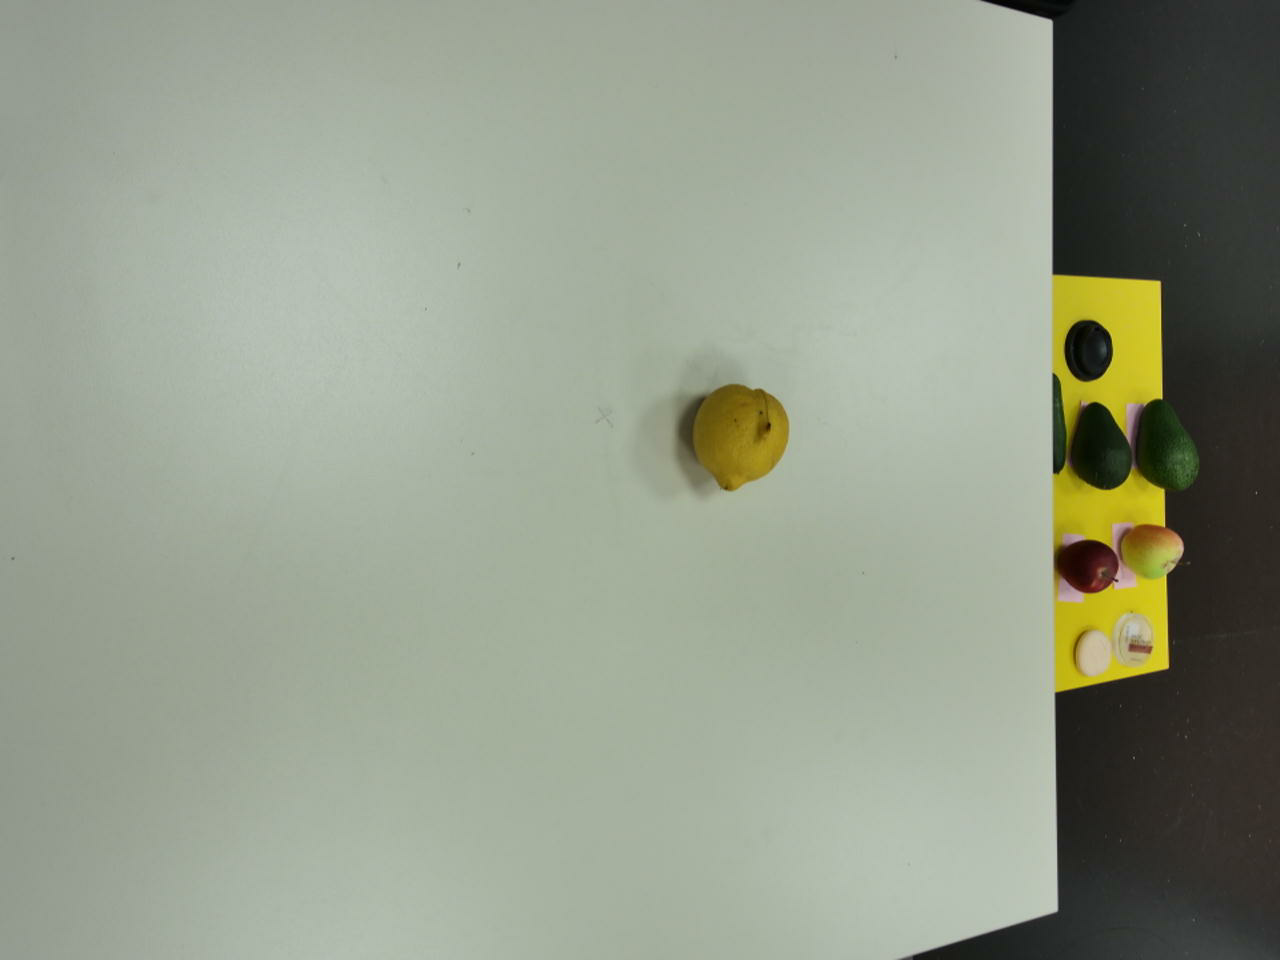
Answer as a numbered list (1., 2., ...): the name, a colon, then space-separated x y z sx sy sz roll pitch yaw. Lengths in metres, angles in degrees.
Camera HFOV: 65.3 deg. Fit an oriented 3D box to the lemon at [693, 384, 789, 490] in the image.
1. lemon: 0.074 -0.034 0.716 0.071 0.071 0.070 -37 107 -23
